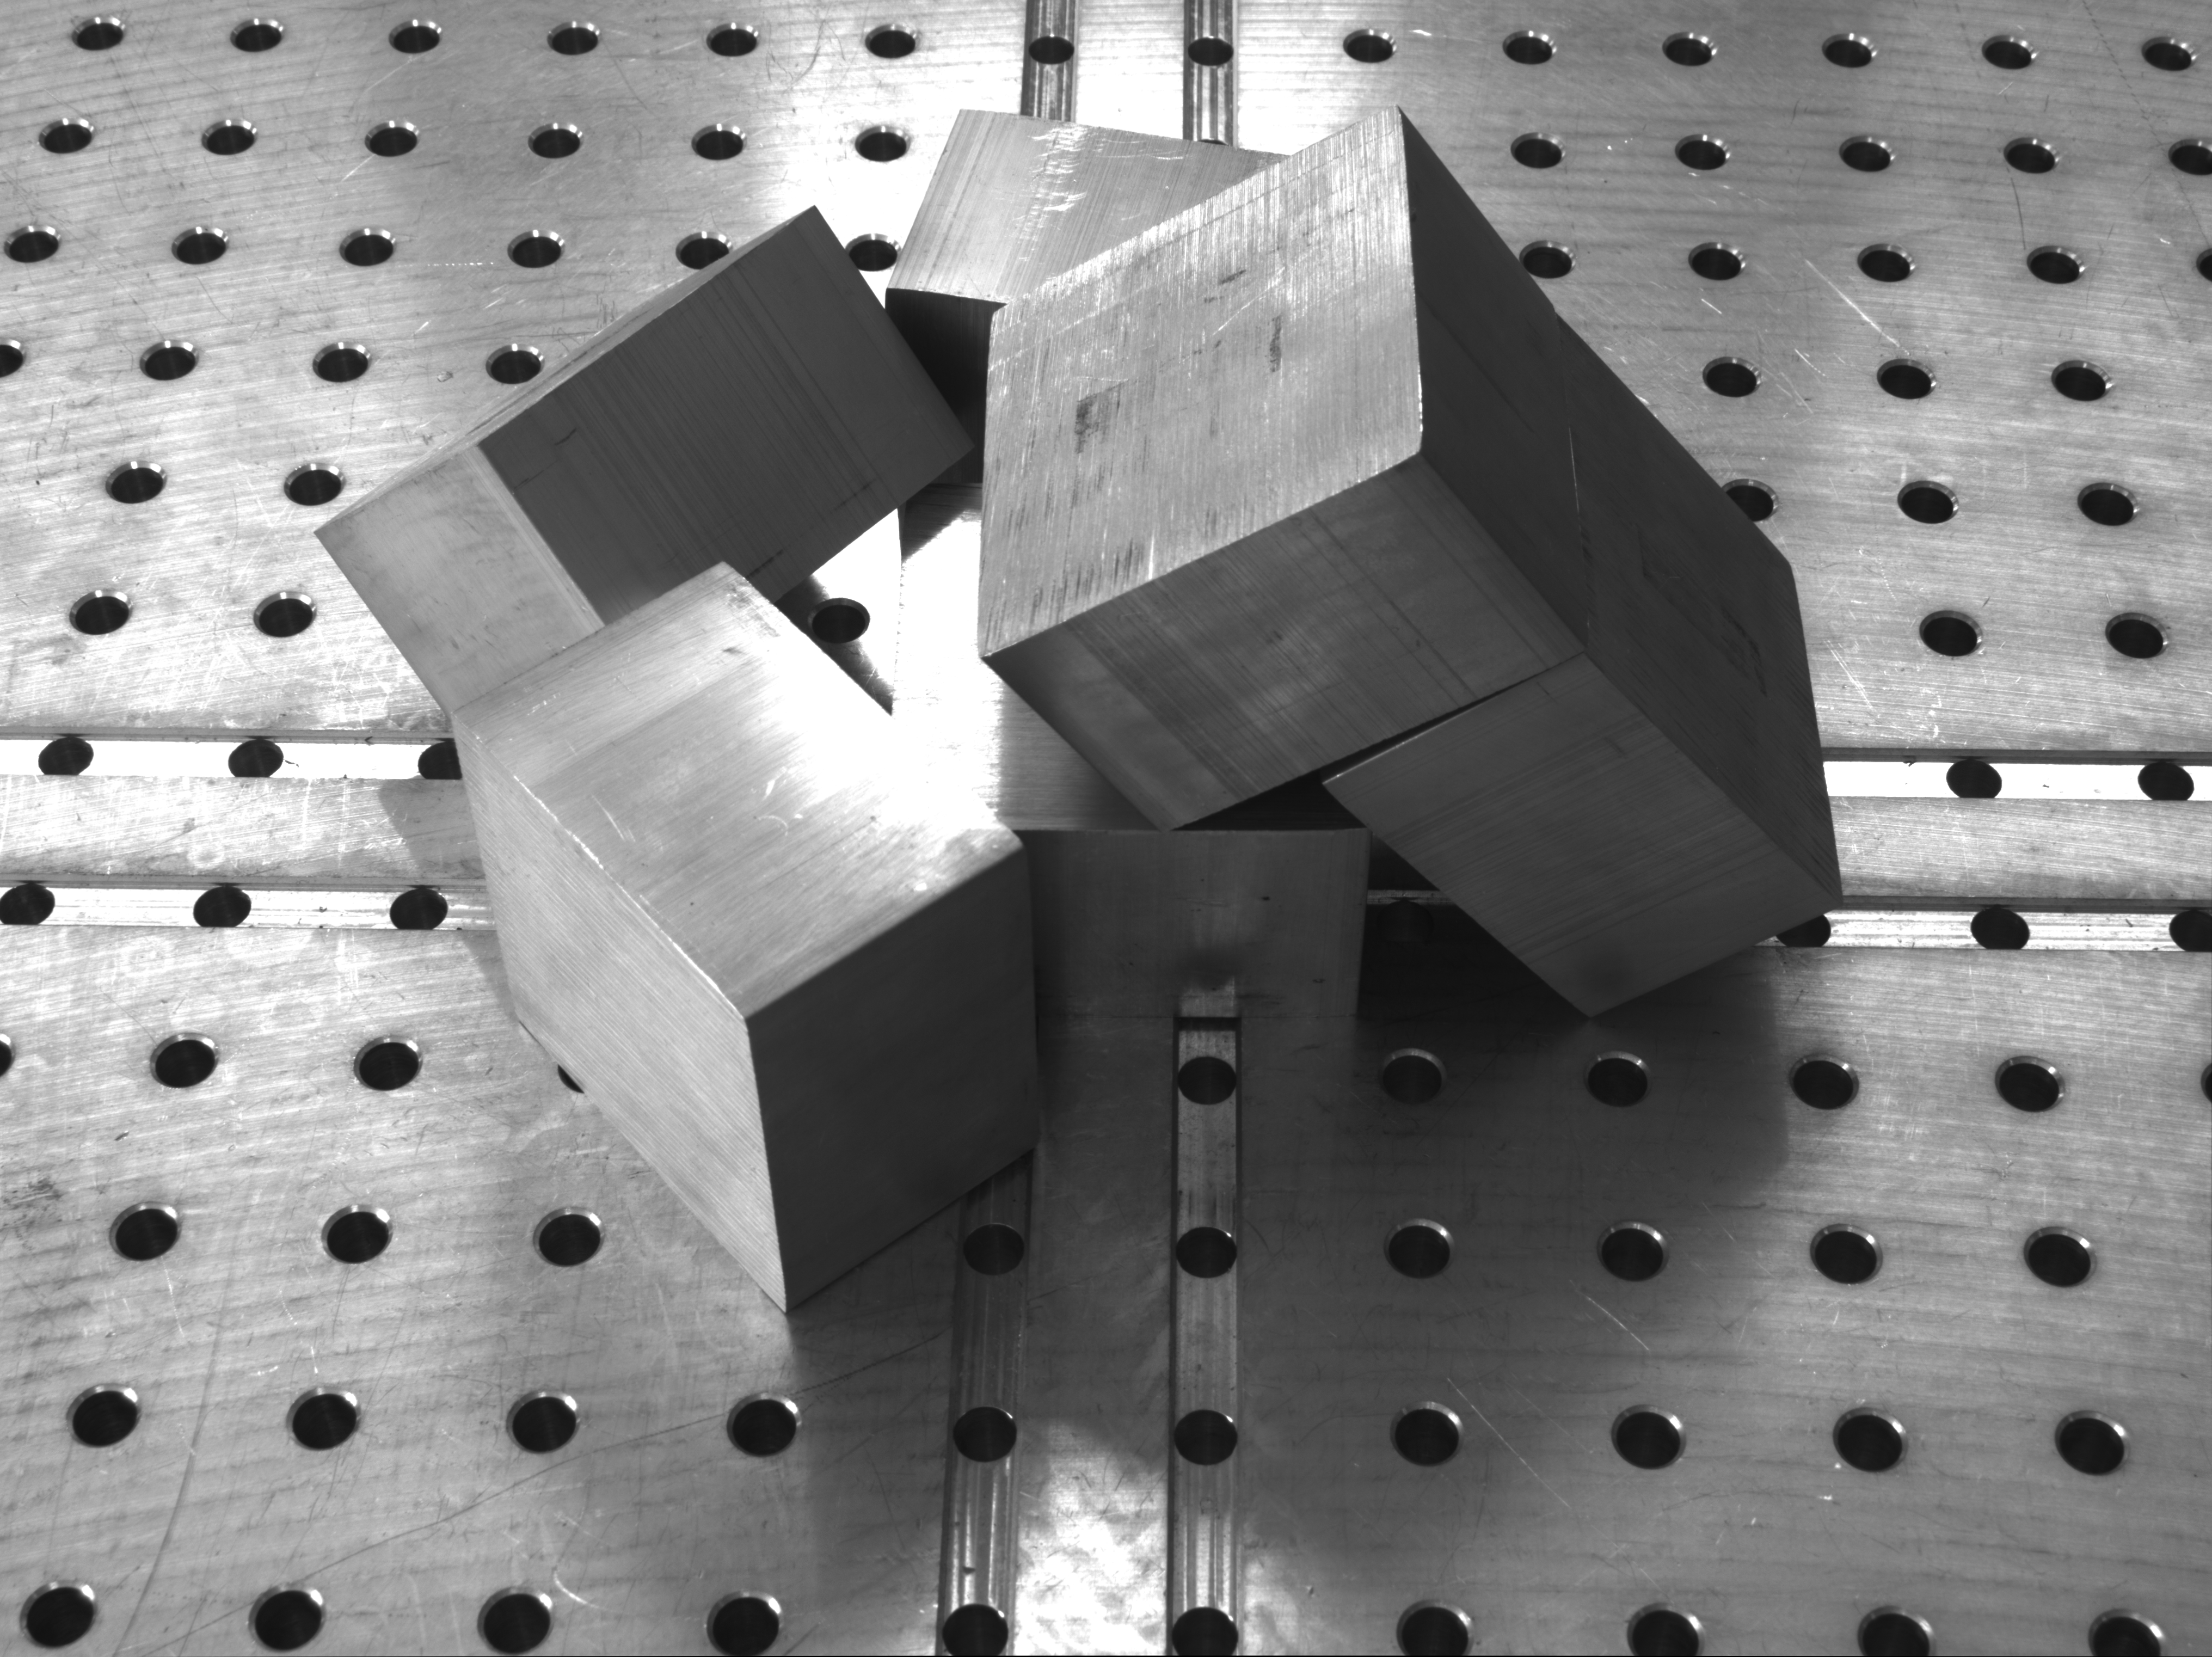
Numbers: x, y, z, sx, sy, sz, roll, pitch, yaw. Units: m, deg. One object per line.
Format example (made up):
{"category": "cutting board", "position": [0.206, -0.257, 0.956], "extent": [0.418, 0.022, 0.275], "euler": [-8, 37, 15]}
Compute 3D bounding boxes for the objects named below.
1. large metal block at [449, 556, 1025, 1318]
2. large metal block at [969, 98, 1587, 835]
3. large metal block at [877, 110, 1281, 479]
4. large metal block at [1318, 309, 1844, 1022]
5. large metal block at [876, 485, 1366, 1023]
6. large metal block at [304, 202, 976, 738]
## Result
{"category": "large metal block", "position": [-0.058, 0.018, 0.593], "extent": [0.050, 0.080, 0.080], "euler": [-32, 57, -25]}
{"category": "large metal block", "position": [0.027, -0.057, 0.587], "extent": [0.080, 0.050, 0.080], "euler": [-24, 43, 26]}
{"category": "large metal block", "position": [0.005, -0.080, 0.677], "extent": [0.080, 0.080, 0.050], "euler": [10, 50, 9]}
{"category": "large metal block", "position": [0.078, -0.028, 0.622], "extent": [0.050, 0.080, 0.080], "euler": [-27, 42, 28]}
{"category": "large metal block", "position": [0.003, -0.014, 0.641], "extent": [0.080, 0.050, 0.080], "euler": [1, 50, 1]}
{"category": "large metal block", "position": [-0.084, -0.060, 0.652], "extent": [0.080, 0.080, 0.050], "euler": [-41, 105, -29]}
